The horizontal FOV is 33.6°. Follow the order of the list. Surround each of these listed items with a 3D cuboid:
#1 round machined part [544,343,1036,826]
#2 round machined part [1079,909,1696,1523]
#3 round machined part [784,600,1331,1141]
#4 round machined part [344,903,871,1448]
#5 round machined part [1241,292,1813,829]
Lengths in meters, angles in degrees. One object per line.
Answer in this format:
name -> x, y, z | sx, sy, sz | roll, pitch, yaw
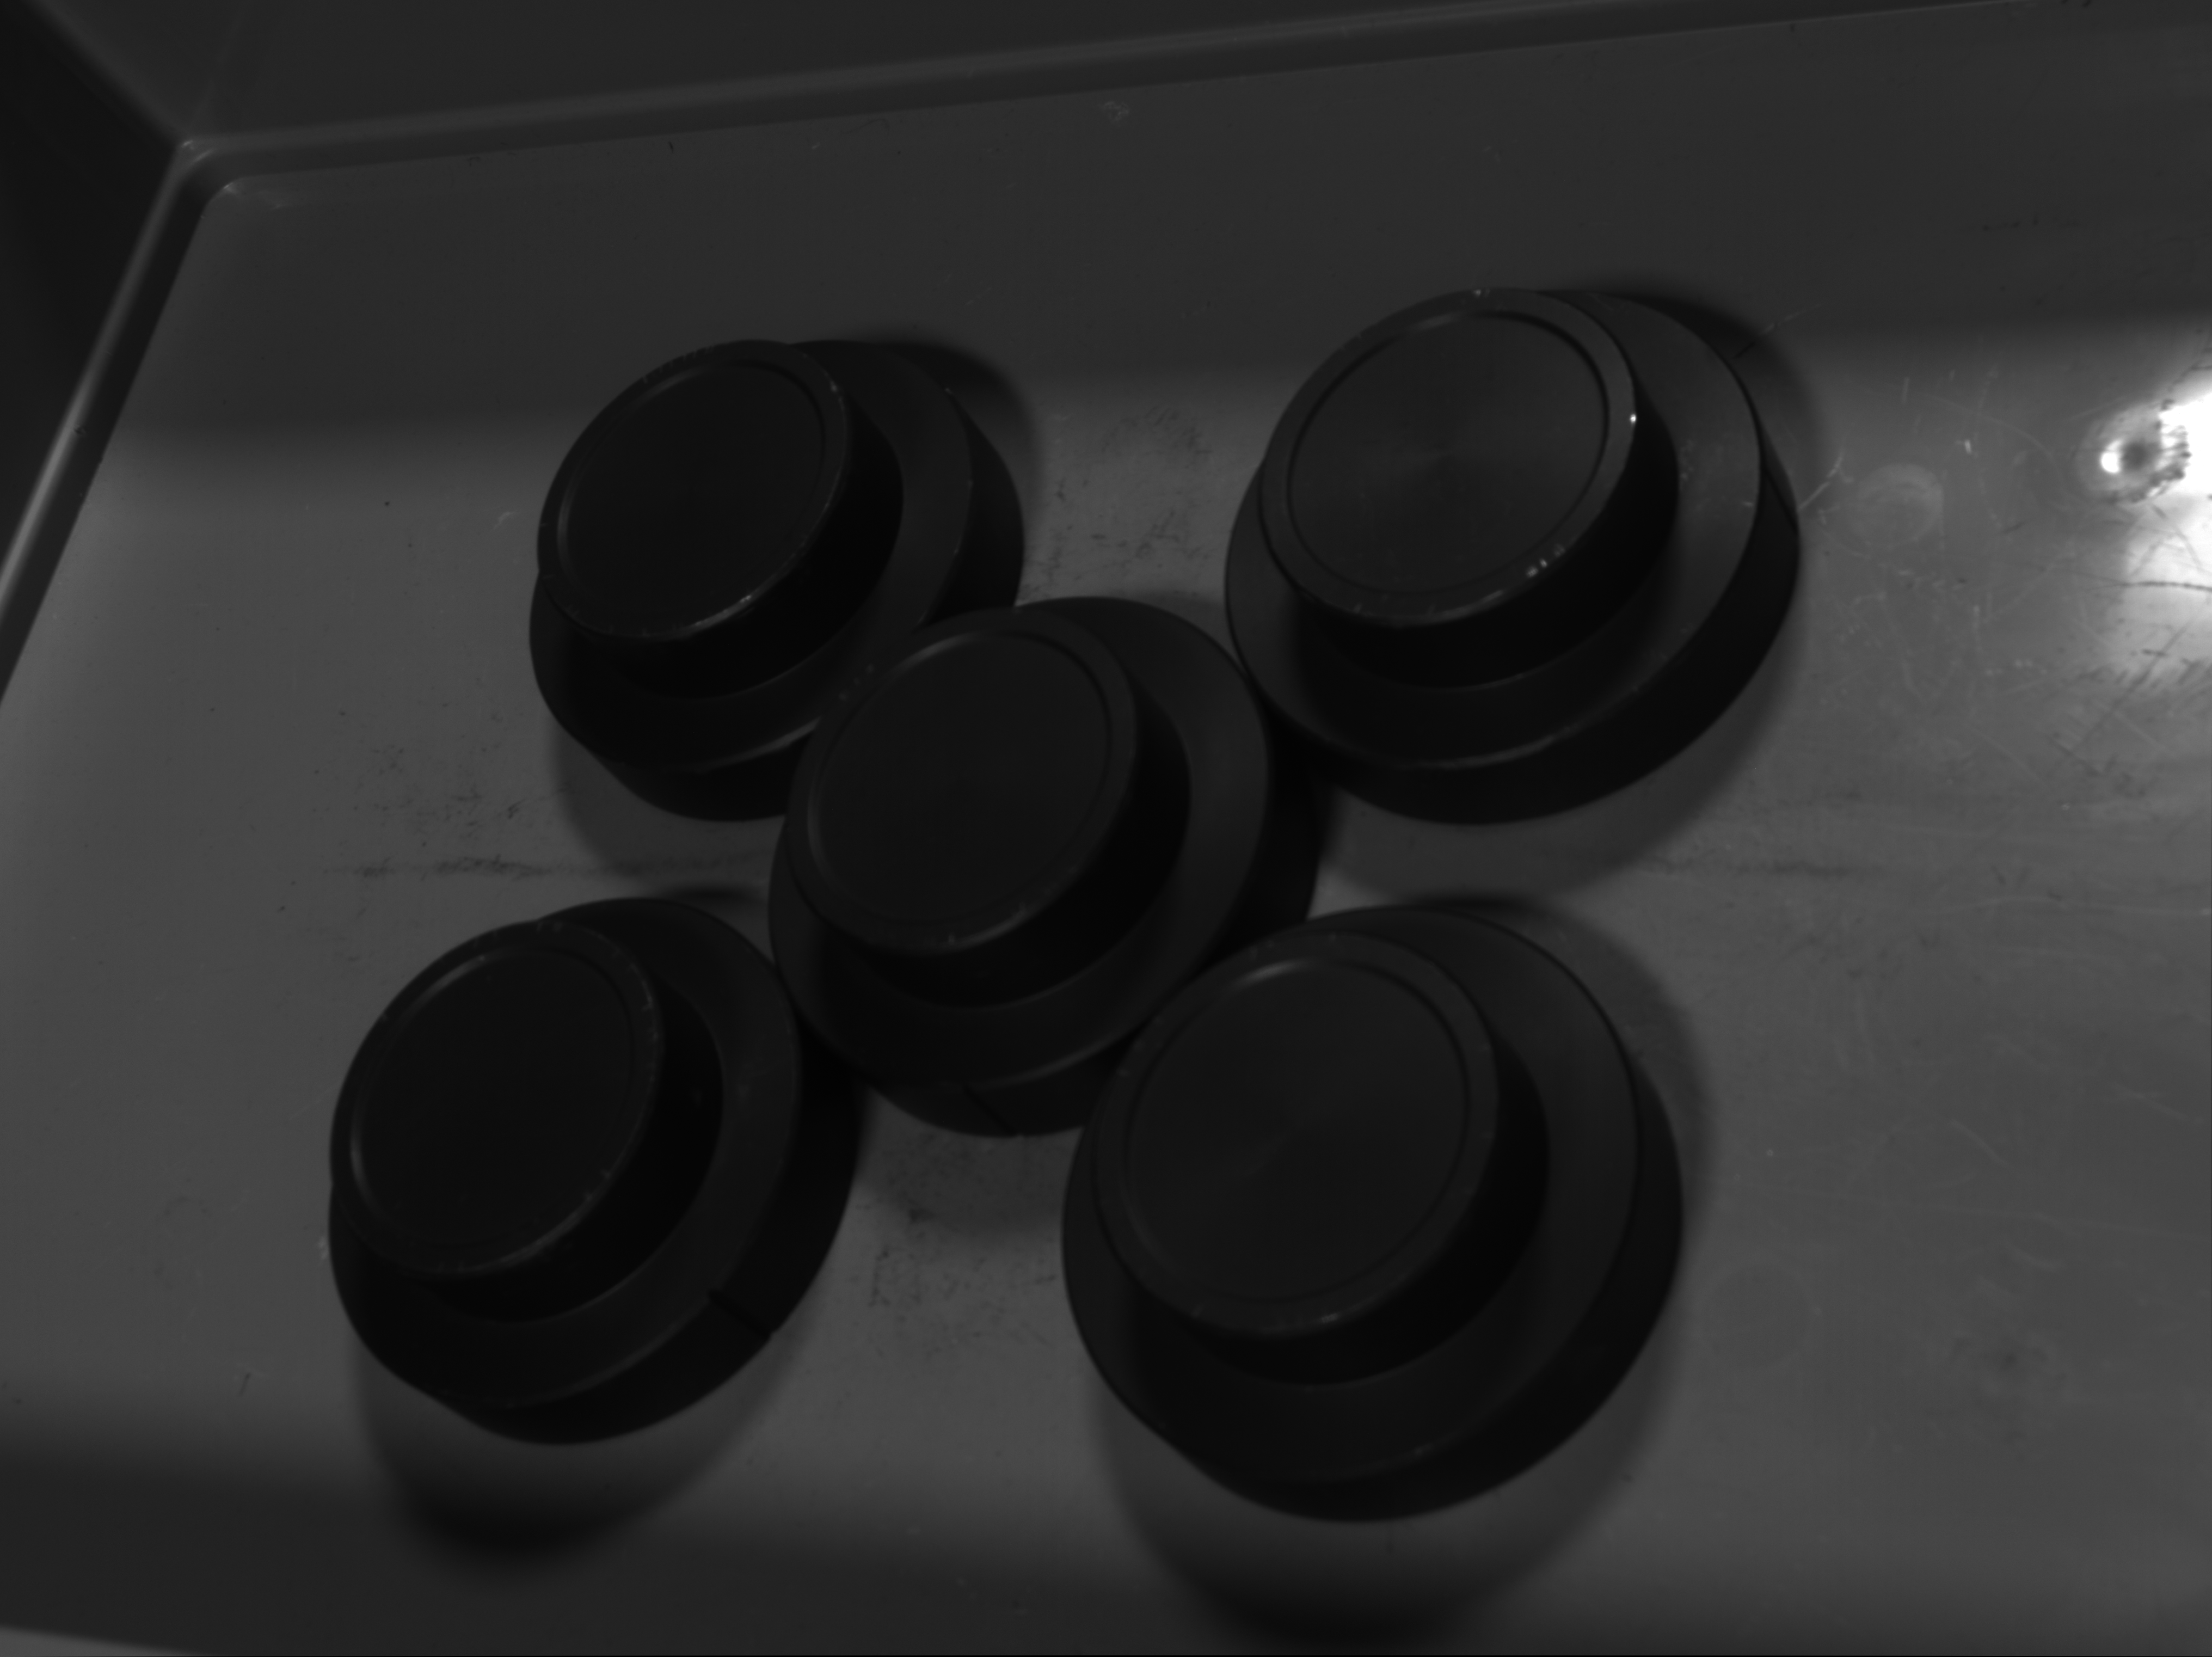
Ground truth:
round machined part -> -0.066, -0.053, 0.701 | 0.098, 0.042, 0.098 | -13, 56, 21
round machined part -> 0.040, 0.056, 0.576 | 0.098, 0.042, 0.098 | -13, 56, 21
round machined part -> -0.014, 0.001, 0.638 | 0.098, 0.042, 0.098 | -13, 56, 21
round machined part -> -0.094, 0.056, 0.649 | 0.098, 0.042, 0.098 | -13, 56, 21
round machined part -> 0.068, -0.052, 0.628 | 0.098, 0.042, 0.098 | -13, 56, 21
